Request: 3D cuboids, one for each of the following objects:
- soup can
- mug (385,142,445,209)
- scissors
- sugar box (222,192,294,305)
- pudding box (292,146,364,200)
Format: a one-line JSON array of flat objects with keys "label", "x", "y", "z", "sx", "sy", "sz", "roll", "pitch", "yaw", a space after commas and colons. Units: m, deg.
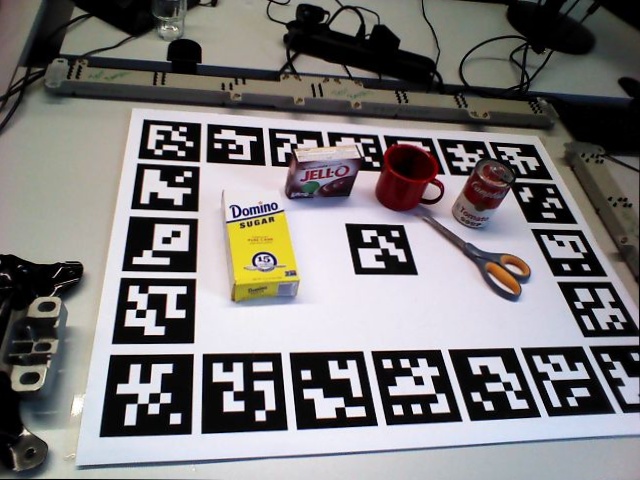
[{"label": "soup can", "x": 0.281, "y": -0.066, "z": 0.863, "sx": 0.068, "sy": 0.102, "sz": 0.067, "roll": 5, "pitch": 51, "yaw": -7}, {"label": "mug", "x": 0.163, "y": -0.100, "z": 0.868, "sx": 0.093, "sy": 0.082, "sz": 0.117, "roll": -32, "pitch": 64, "yaw": -28}, {"label": "scissors", "x": 0.261, "y": 0.029, "z": 0.829, "sx": 0.203, "sy": 0.016, "sz": 0.087, "roll": 41, "pitch": 65, "yaw": 17}, {"label": "sugar box", "x": -0.093, "y": 0.007, "z": 0.760, "sx": 0.093, "sy": 0.045, "sz": 0.175, "roll": -2, "pitch": 55, "yaw": -11}, {"label": "pudding box", "x": 0.018, "y": -0.108, "z": 0.834, "sx": 0.113, "sy": 0.090, "sz": 0.038, "roll": -6, "pitch": 61, "yaw": -17}]
